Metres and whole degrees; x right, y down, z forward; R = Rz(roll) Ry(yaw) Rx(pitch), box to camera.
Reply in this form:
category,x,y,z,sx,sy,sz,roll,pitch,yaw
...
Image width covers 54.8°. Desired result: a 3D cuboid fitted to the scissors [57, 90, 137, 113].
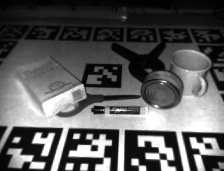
category,x,y,z,sx,sy,sz,roll,pitch,yaw
scissors,-0.042,0.022,0.497,0.203,0.016,0.087,-4,40,-8

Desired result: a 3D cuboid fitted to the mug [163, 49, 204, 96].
category,x,y,z,sx,sy,sz,roll,pitch,yaw
mug,0.167,-0.022,0.509,0.094,0.082,0.115,-17,43,-18

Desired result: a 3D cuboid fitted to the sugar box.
category,x,y,z,sx,sy,sz,roll,pitch,yaw
sugar box,-0.148,-0.009,0.505,0.093,0.045,0.174,-25,43,-24

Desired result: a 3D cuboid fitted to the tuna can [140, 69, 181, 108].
category,x,y,z,sx,sy,sz,roll,pitch,yaw
tuna can,0.105,0.009,0.468,0.085,0.086,0.034,13,45,14

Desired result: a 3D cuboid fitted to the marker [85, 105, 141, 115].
category,x,y,z,sx,sy,sz,roll,pitch,yaw
marker,0.001,0.053,0.468,0.121,0.020,0.019,-1,44,-1

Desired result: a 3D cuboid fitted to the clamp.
category,x,y,z,sx,sy,sz,roll,pitch,yaw
clamp,0.083,-0.066,0.597,0.166,0.037,0.201,-5,45,-6
